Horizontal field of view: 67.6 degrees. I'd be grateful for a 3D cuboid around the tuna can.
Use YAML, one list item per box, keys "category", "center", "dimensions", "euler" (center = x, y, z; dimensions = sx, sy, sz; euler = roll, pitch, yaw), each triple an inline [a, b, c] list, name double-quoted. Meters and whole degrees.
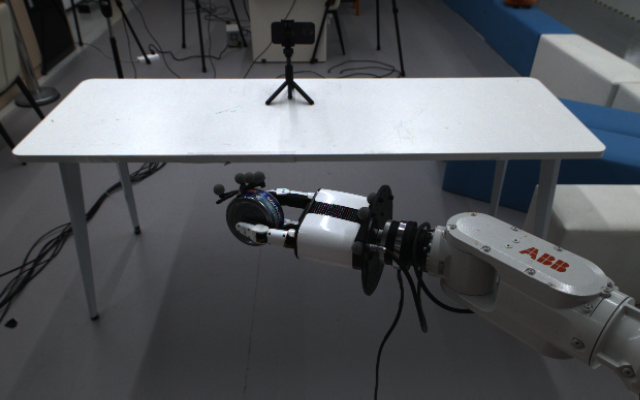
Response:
- category: "tuna can"
  center: [-0.097, 0.034, 0.740]
  dimensions: [0.085, 0.085, 0.034]
  euler: [15, 30, 17]
